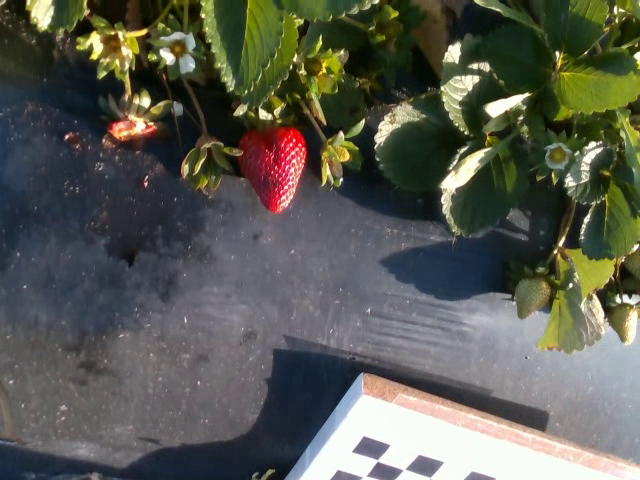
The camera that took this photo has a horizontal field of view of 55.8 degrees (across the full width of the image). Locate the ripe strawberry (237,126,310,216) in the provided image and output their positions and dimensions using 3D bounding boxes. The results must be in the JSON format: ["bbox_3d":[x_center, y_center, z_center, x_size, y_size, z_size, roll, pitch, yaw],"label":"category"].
[{"bbox_3d":[-0.029,-0.040,0.366,0.052,0.052,0.041,-5,-22,5],"label":"ripe strawberry"}]
